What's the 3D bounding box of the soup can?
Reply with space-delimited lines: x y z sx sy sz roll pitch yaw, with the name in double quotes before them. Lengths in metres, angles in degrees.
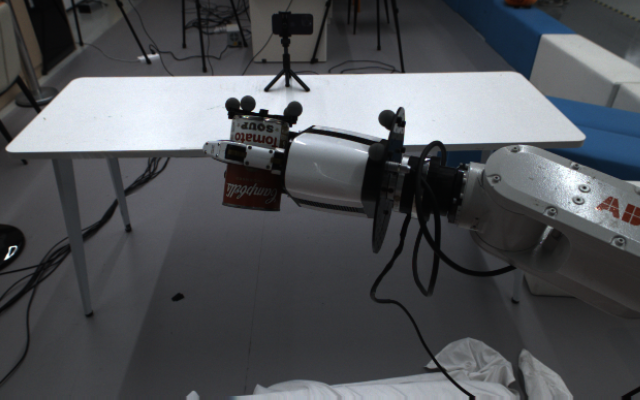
"soup can" -0.072 -0.040 0.556 0.067 0.101 0.067 7 3 0
